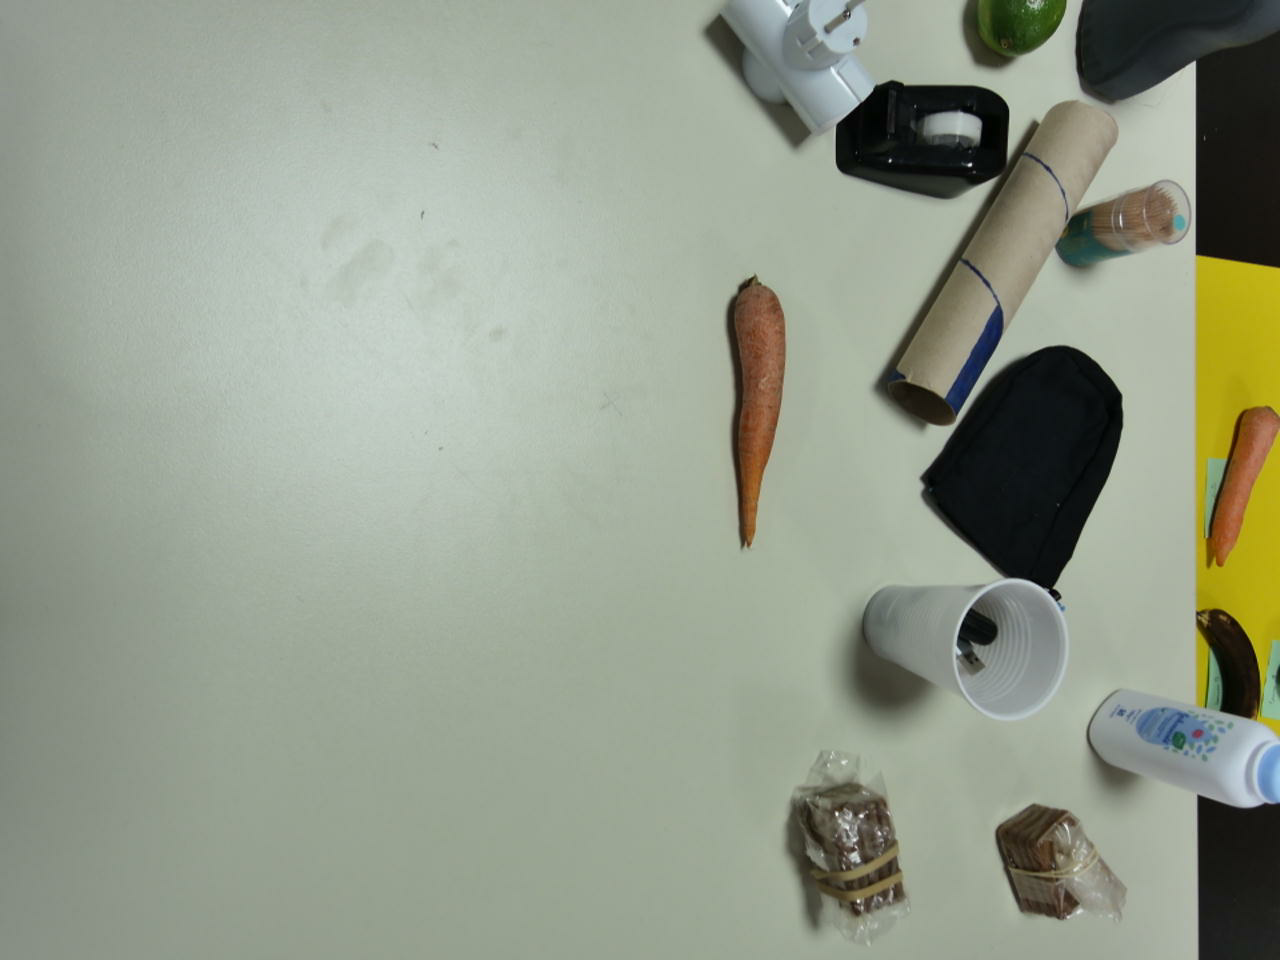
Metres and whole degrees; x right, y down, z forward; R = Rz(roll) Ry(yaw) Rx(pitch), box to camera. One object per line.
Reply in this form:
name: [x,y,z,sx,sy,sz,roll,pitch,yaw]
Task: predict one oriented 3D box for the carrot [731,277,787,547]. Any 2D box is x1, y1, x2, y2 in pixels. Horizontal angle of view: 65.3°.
carrot: [0.072,-0.041,0.602,0.031,0.029,0.163,0,91,-22]
